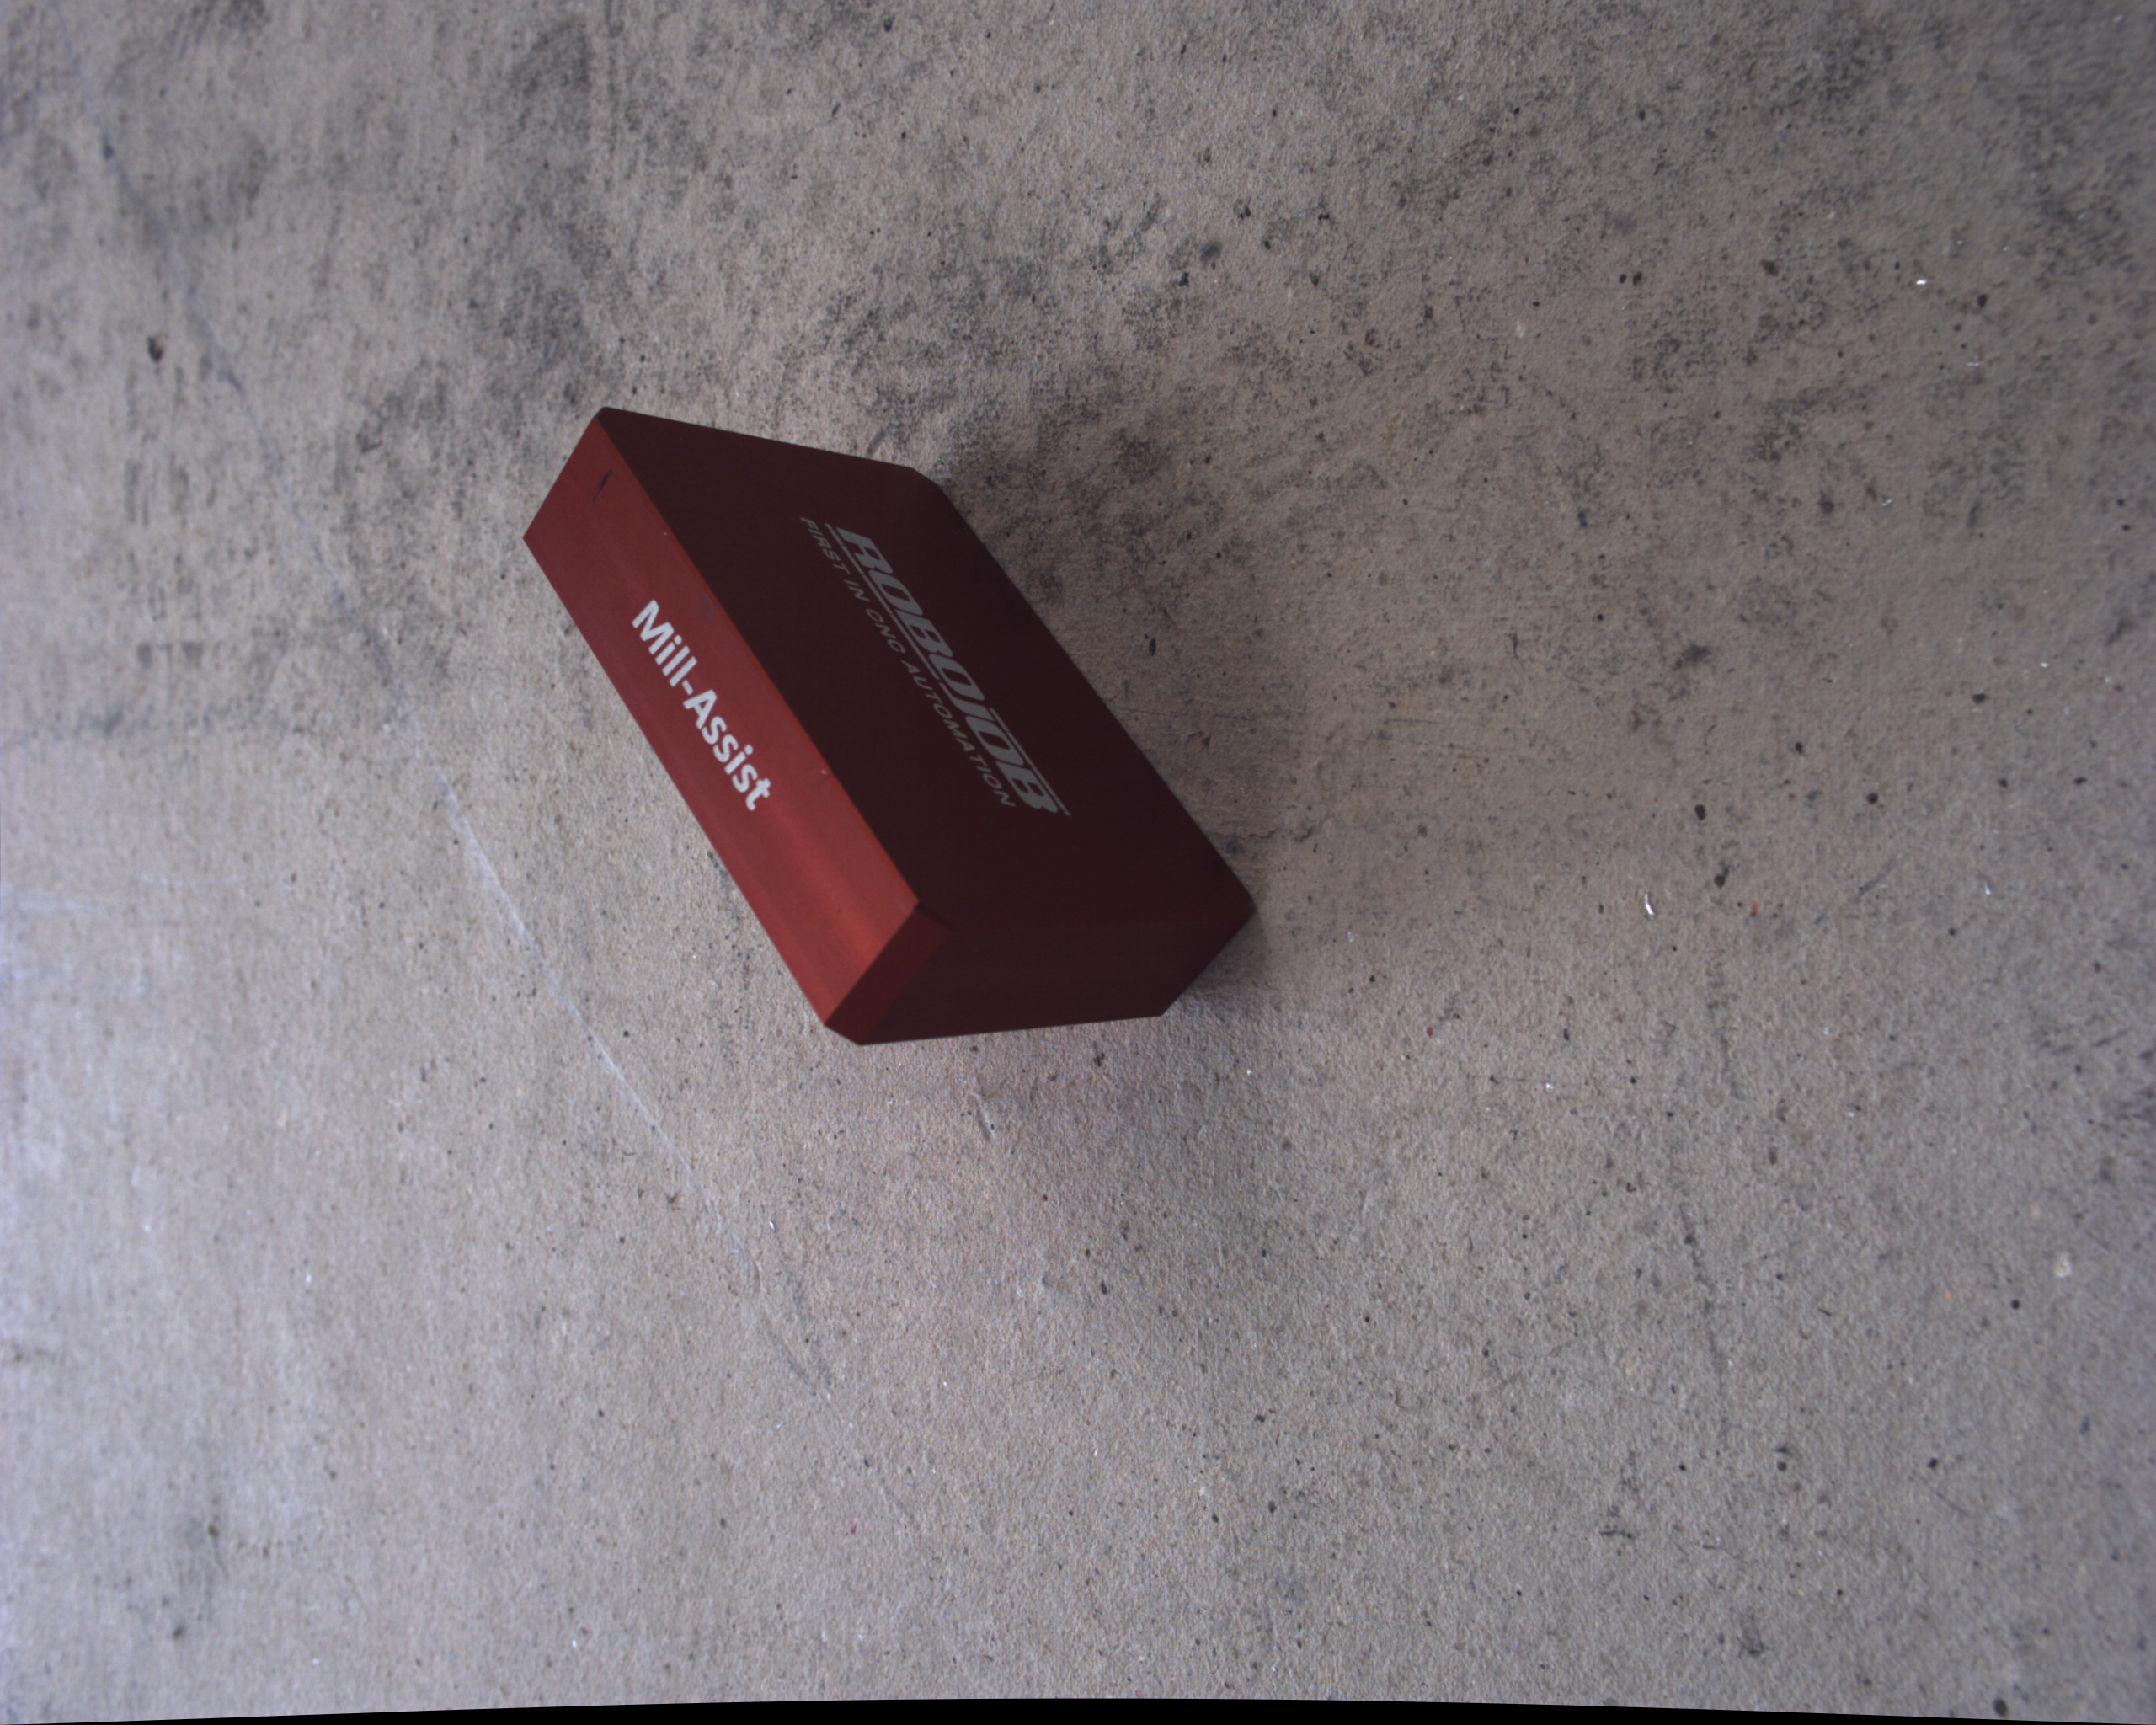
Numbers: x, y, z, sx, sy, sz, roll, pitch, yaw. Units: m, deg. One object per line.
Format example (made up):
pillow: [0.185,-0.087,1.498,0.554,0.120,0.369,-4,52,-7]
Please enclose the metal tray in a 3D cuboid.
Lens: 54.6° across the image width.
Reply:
metal tray: [-0.036,-0.027,0.395,0.030,0.091,0.130,-51,61,28]
